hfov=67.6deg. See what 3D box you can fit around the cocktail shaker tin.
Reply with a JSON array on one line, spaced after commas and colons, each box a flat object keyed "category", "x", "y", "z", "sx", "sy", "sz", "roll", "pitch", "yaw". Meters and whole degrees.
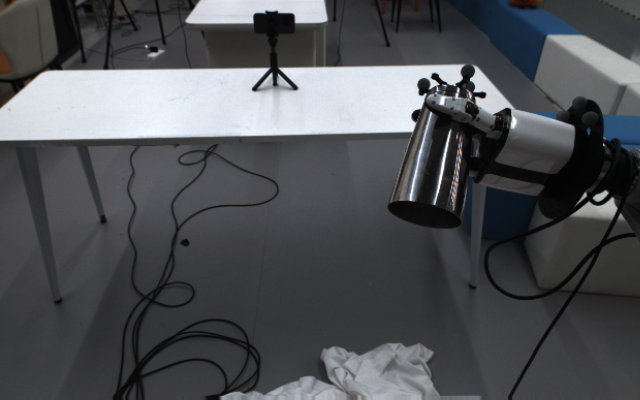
[{"category": "cocktail shaker tin", "x": 0.153, "y": -0.062, "z": 0.624, "sx": 0.093, "sy": 0.093, "sz": 0.170, "roll": 12, "pitch": 72, "yaw": 14}]
